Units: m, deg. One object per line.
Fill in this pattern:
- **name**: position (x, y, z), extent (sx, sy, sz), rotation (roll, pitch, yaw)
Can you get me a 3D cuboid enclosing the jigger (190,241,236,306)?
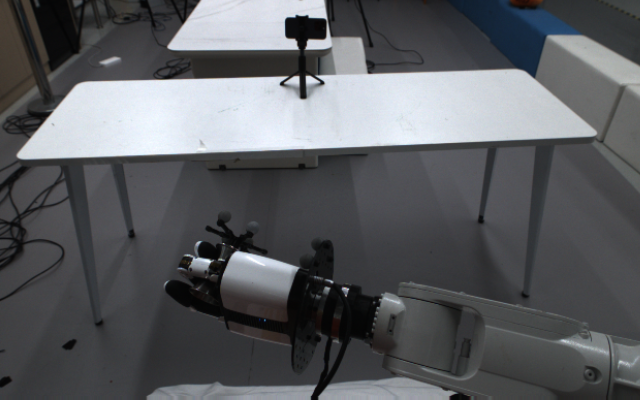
- **jigger**: position (-0.127, 0.091, 0.607), extent (0.043, 0.043, 0.071), rotation (15, 58, 18)
